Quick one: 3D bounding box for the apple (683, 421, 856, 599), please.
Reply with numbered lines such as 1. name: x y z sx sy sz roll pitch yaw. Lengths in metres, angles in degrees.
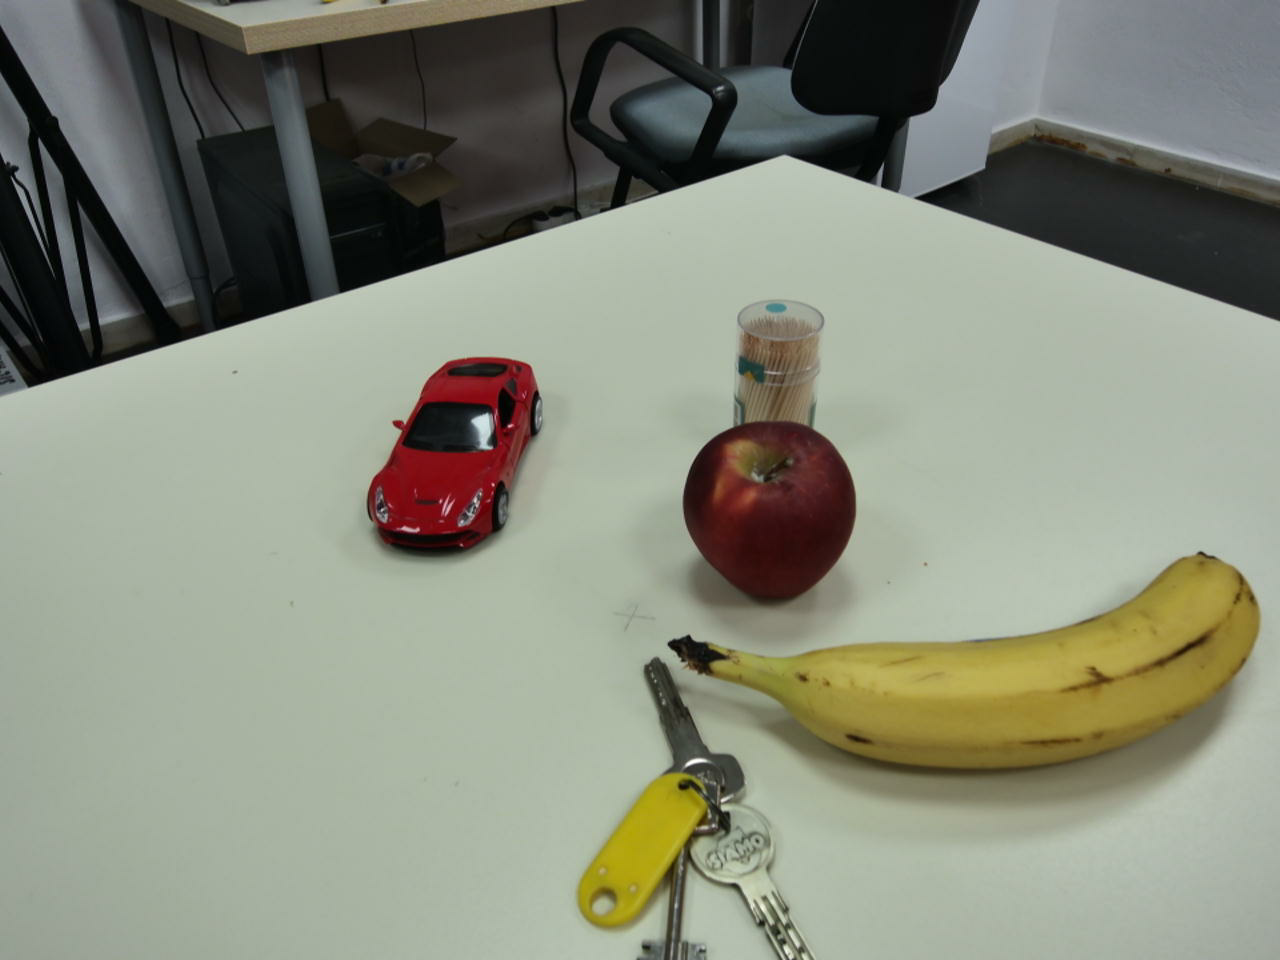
1. apple: 0.052 0.011 0.402 0.070 0.072 0.070 0 35 0
